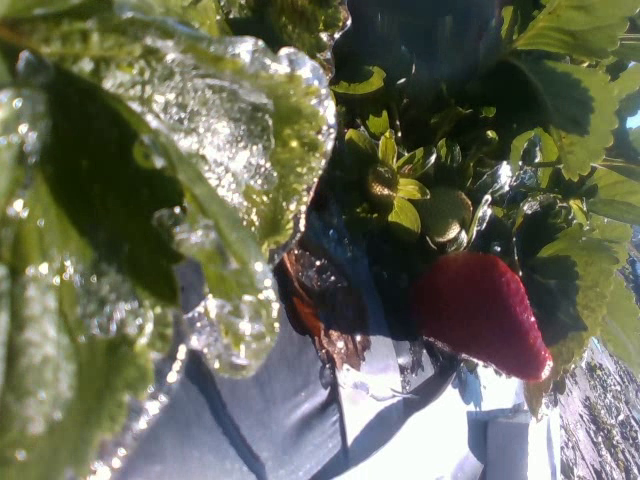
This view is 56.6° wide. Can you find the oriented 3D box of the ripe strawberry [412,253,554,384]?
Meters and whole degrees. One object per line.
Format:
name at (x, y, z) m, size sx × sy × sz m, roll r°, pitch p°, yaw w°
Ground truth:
ripe strawberry at (0.074, 0.040, 0.252) m, size 0.057 × 0.062 × 0.065 m, roll -28°, pitch 41°, yaw -9°
